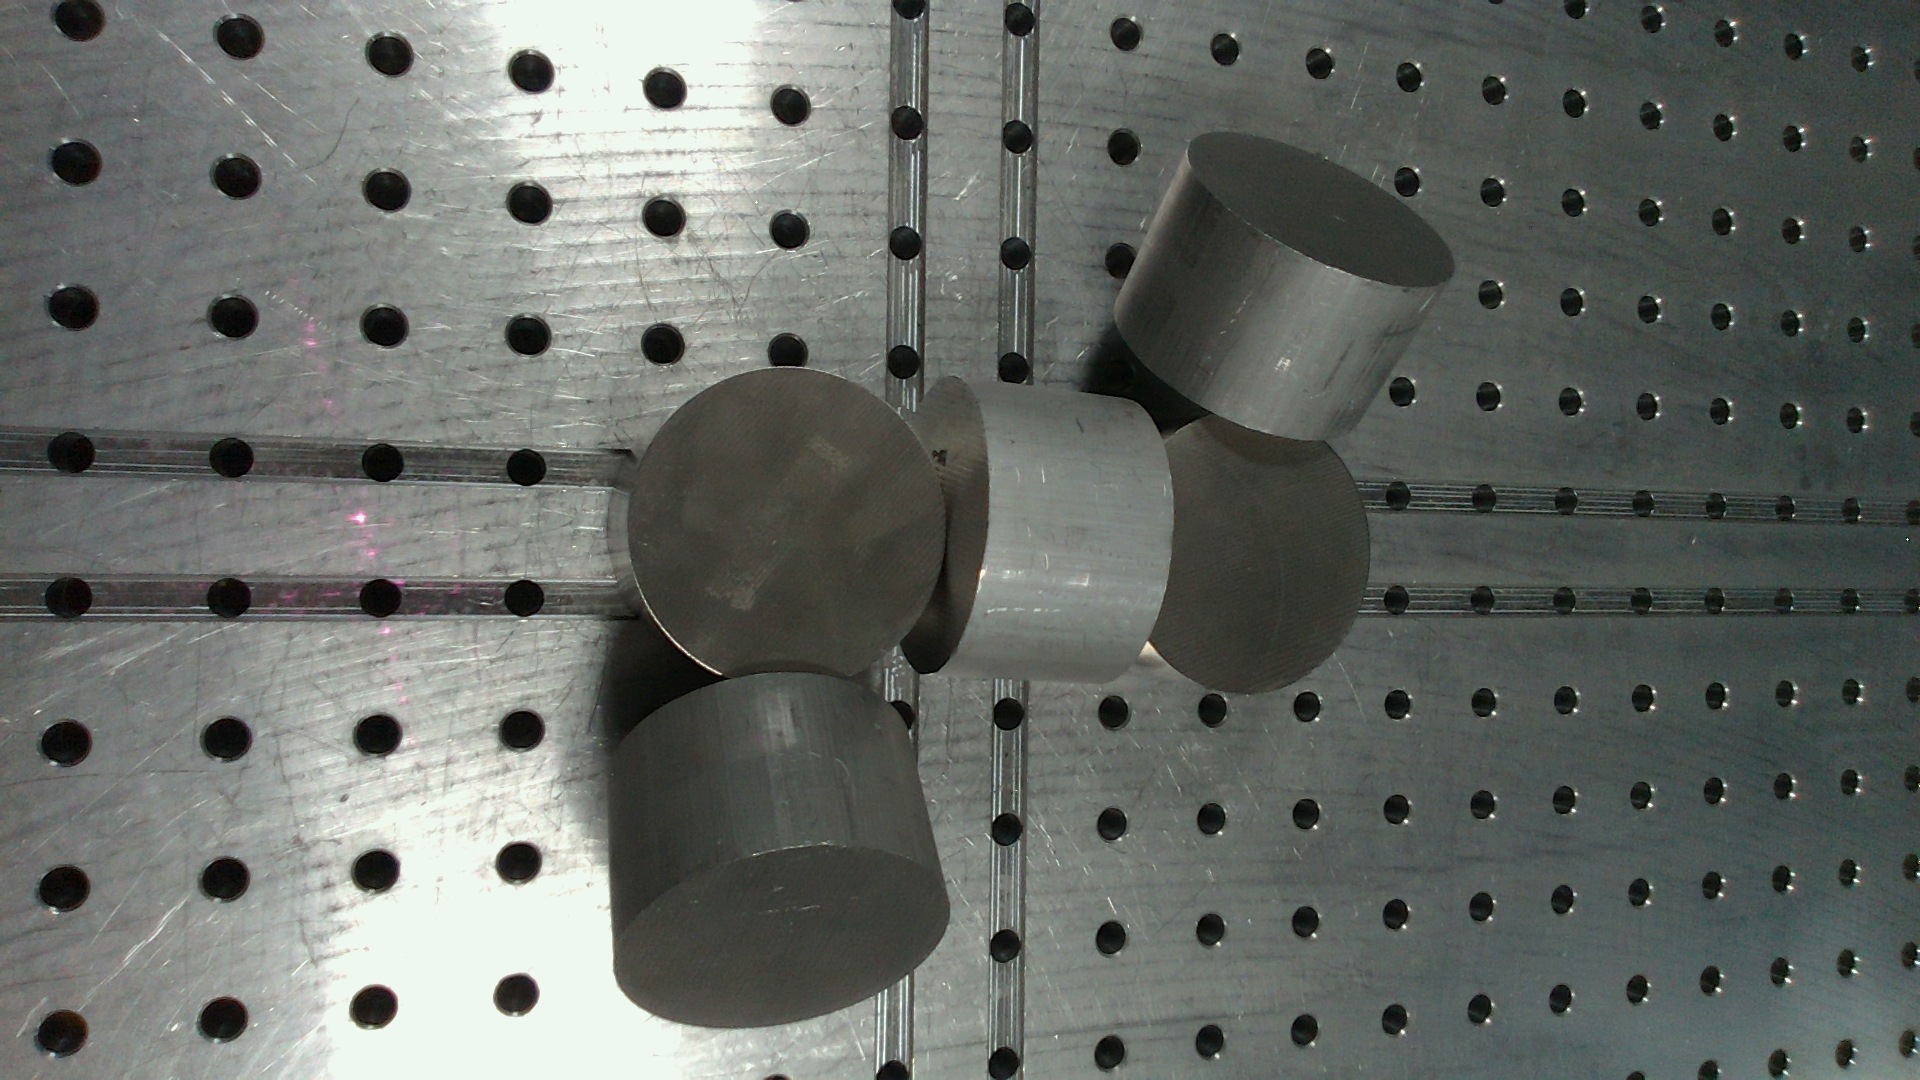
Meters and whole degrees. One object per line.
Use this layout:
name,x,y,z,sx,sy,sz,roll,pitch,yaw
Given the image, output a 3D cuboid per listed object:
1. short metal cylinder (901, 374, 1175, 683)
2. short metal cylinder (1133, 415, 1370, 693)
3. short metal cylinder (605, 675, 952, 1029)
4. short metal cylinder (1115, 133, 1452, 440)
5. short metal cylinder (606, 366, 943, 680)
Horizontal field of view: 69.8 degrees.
short metal cylinder,0.017,-0.002,0.373,0.050,0.080,0.080,5,88,-20
short metal cylinder,0.073,0.003,0.408,0.080,0.050,0.080,0,90,-20
short metal cylinder,-0.047,0.079,0.344,0.080,0.050,0.080,-9,136,-9
short metal cylinder,0.091,-0.073,0.393,0.080,0.080,0.050,9,129,-20
short metal cylinder,-0.050,-0.003,0.364,0.080,0.050,0.080,0,90,-20
